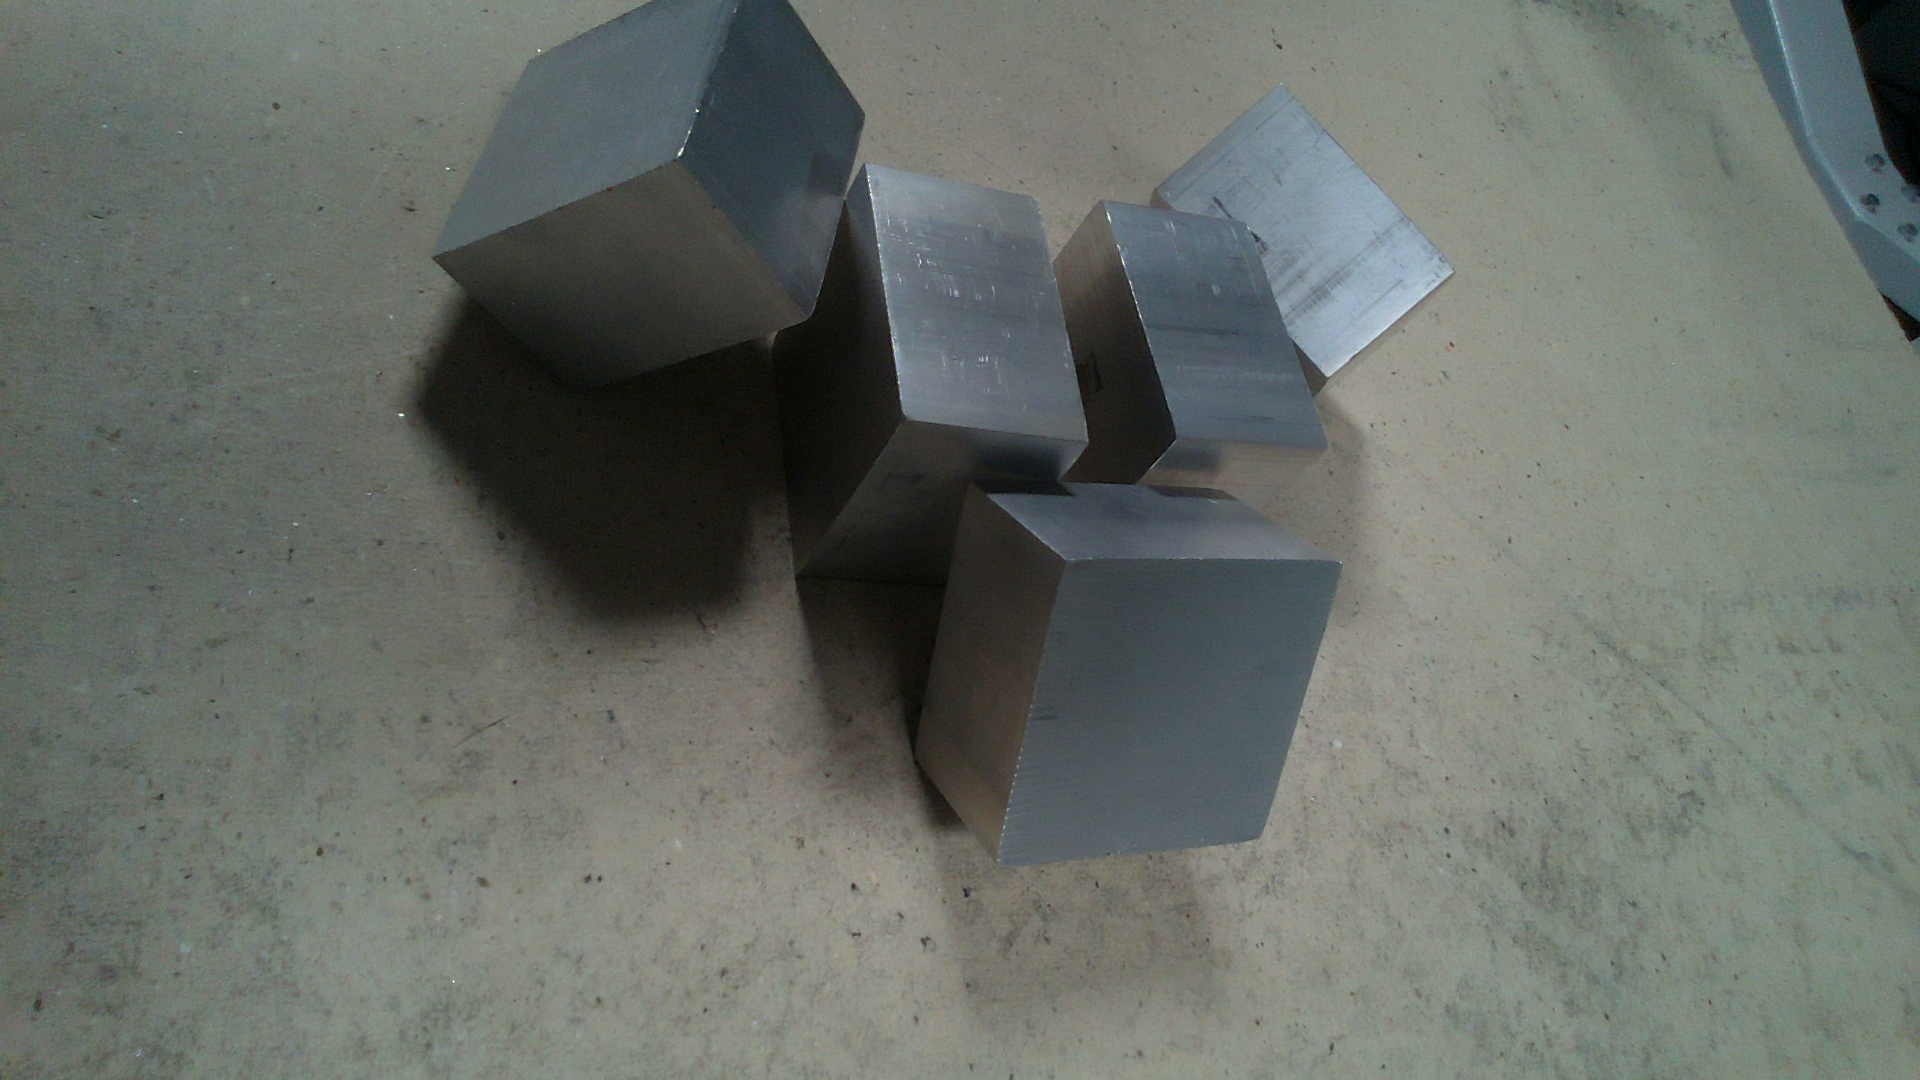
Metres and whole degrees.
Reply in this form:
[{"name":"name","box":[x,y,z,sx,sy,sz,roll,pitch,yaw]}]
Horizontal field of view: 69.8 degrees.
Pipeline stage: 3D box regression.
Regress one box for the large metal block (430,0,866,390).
[{"name":"large metal block","box":[-0.078,-0.094,0.359,0.050,0.080,0.080,49,39,-42]}]

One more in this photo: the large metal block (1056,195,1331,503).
[{"name":"large metal block","box":[0.053,-0.041,0.409,0.050,0.080,0.080,1,61,-28]}]

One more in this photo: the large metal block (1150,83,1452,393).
[{"name":"large metal block","box":[0.106,-0.090,0.459,0.050,0.080,0.080,-41,83,-1]}]

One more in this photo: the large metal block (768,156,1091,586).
[{"name":"large metal block","box":[-0.013,-0.042,0.373,0.050,0.080,0.080,5,59,-26]}]

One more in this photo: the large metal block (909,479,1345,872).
[{"name":"large metal block","box":[0.040,0.032,0.348,0.080,0.080,0.050,1,22,-28]}]
